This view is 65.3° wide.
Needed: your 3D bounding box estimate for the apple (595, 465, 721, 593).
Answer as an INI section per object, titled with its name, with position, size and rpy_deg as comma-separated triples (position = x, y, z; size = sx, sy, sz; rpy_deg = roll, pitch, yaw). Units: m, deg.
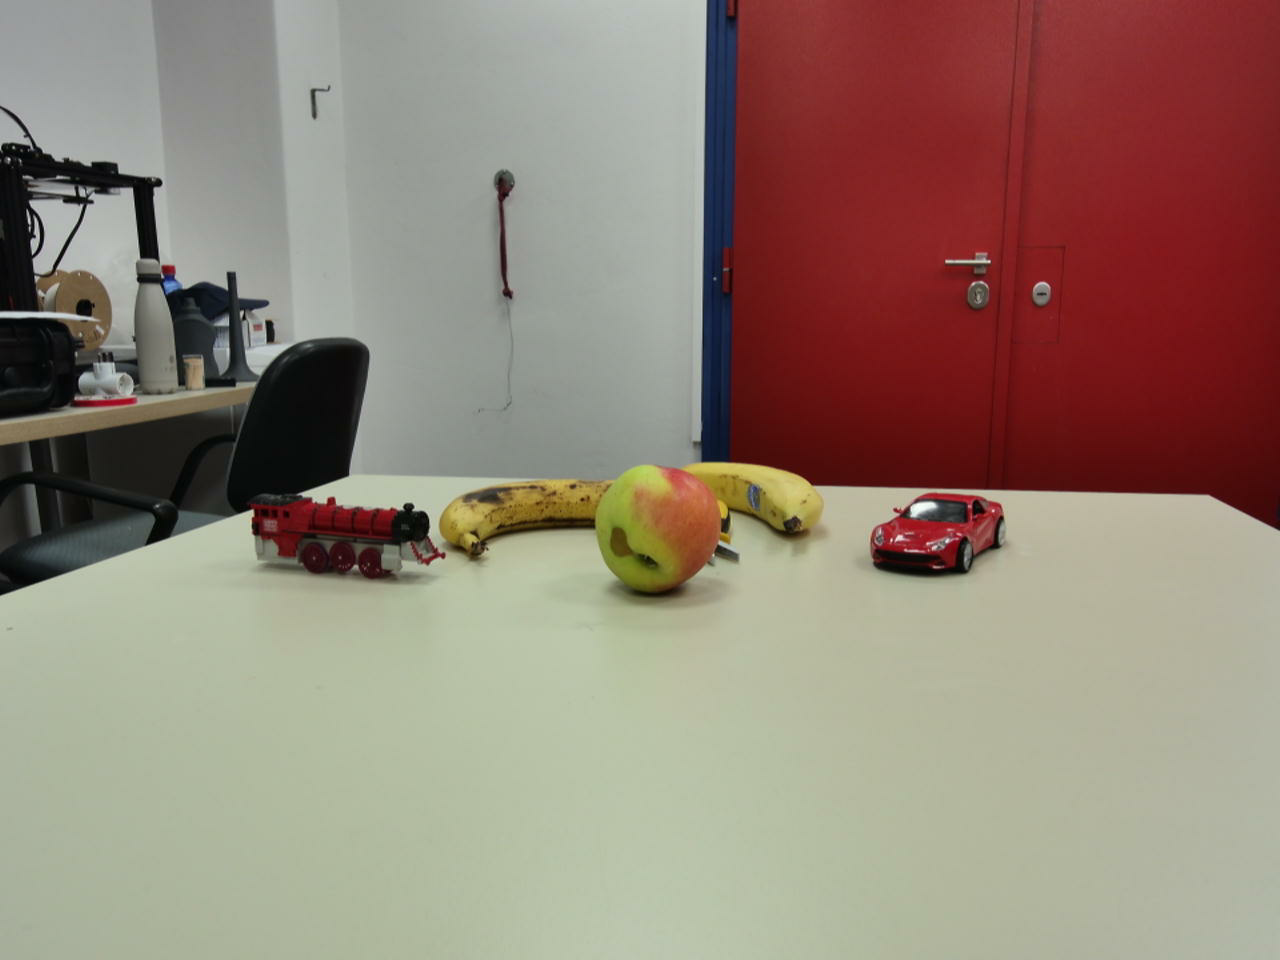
[apple]
position = 0.011, 0.029, 0.596
size = 0.075, 0.074, 0.075
rpy_deg = 0, 7, -8
